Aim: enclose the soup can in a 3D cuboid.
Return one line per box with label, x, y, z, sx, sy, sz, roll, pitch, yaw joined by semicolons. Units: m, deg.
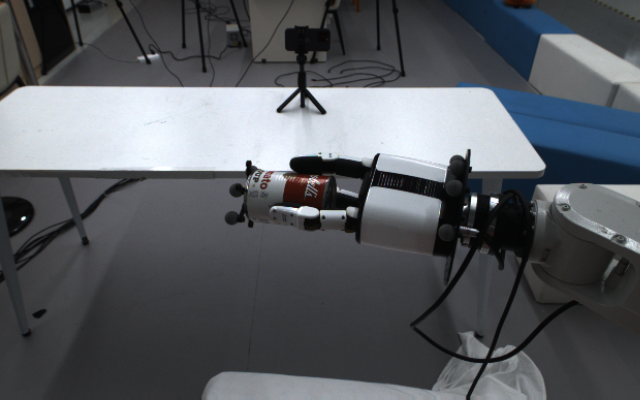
soup can;-0.033;-0.001;0.604;0.101;0.067;0.067;5;35;13
